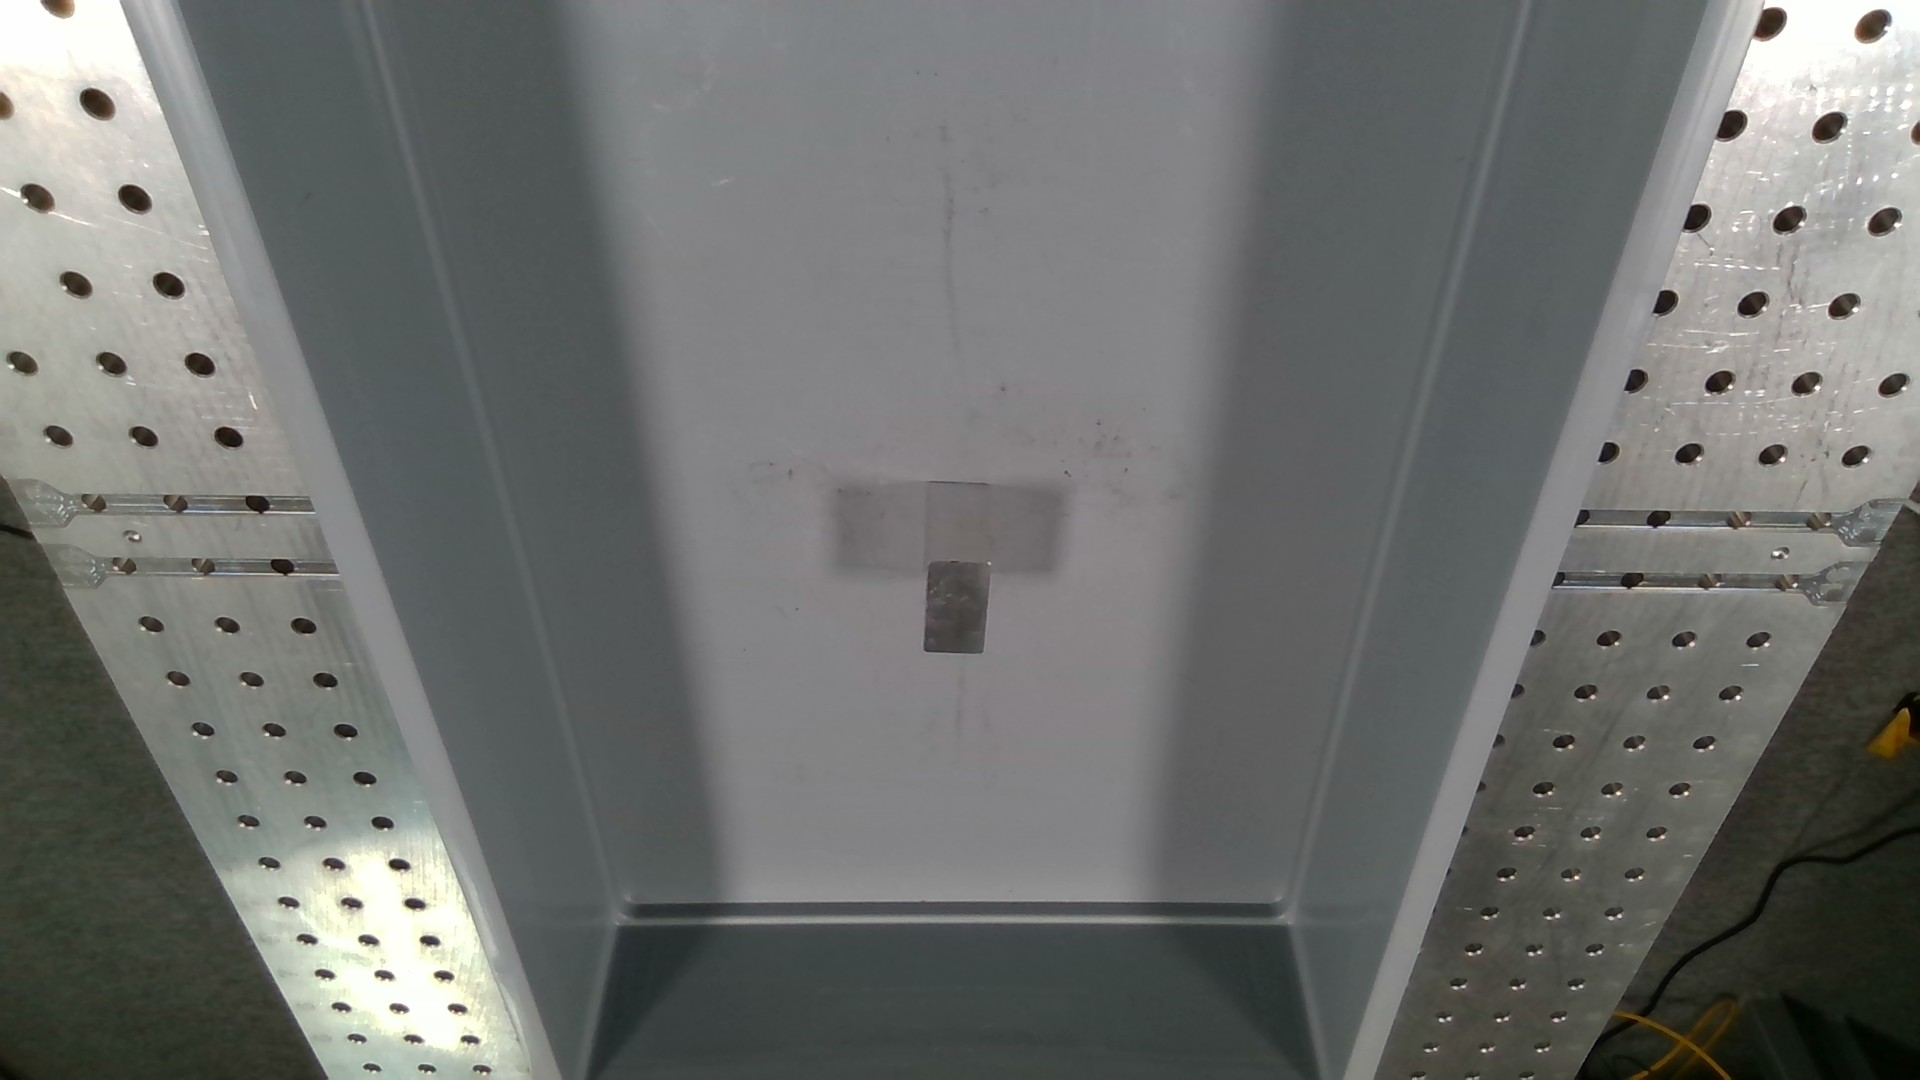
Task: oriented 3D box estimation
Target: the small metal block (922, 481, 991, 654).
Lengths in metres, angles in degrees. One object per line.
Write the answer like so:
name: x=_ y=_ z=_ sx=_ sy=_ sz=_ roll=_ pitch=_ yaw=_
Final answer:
small metal block: x=-0.002 y=0.011 z=0.568 sx=0.025 sy=0.050 sz=0.050 roll=2 pitch=130 yaw=-2
